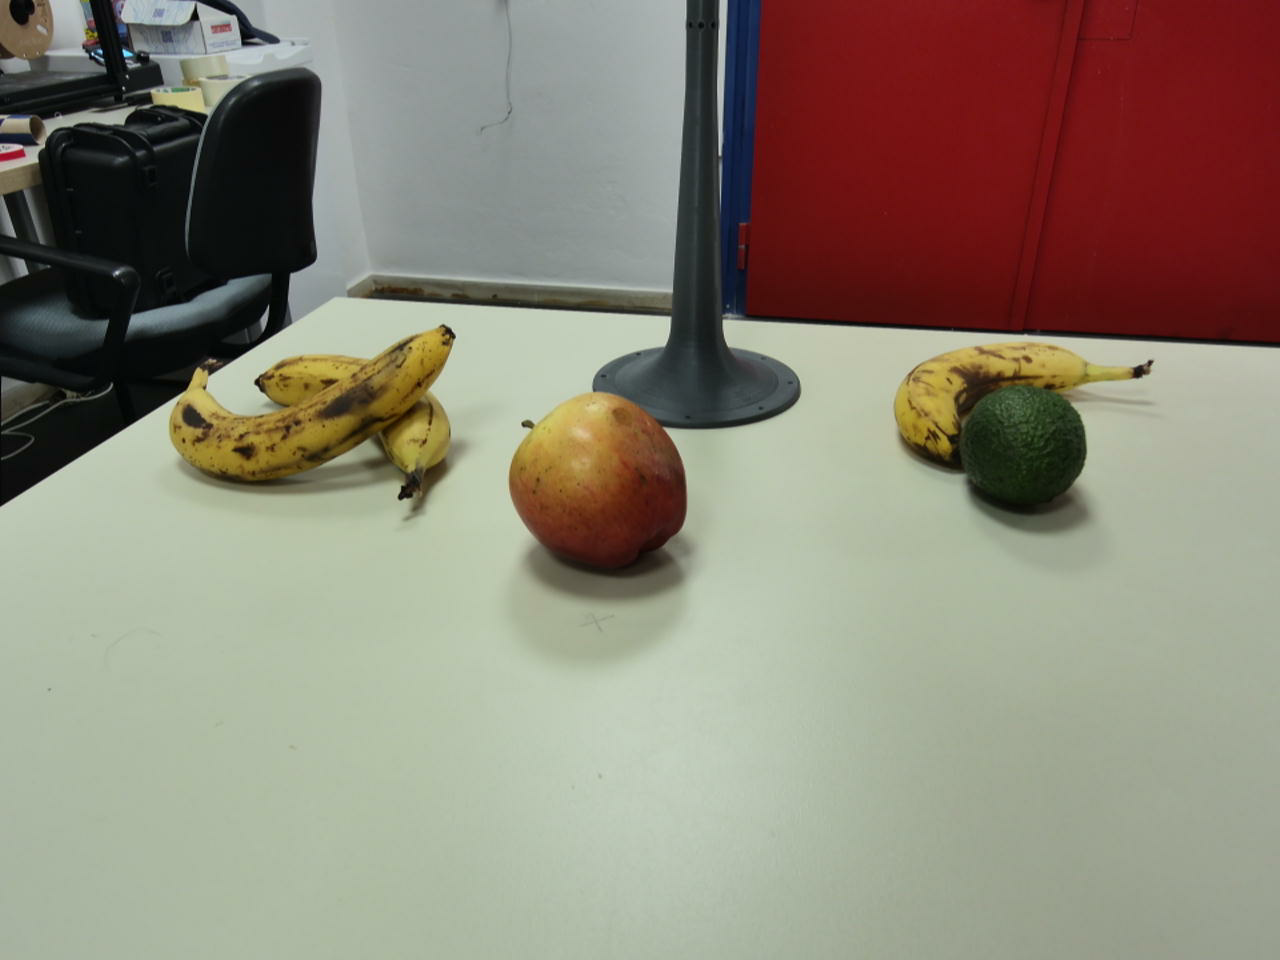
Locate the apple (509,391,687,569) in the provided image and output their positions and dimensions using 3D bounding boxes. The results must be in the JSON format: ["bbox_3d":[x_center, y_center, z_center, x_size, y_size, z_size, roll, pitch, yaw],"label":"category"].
[{"bbox_3d":[-0.023,-0.001,0.508,0.086,0.084,0.093,-12,27,-21],"label":"apple"}]
